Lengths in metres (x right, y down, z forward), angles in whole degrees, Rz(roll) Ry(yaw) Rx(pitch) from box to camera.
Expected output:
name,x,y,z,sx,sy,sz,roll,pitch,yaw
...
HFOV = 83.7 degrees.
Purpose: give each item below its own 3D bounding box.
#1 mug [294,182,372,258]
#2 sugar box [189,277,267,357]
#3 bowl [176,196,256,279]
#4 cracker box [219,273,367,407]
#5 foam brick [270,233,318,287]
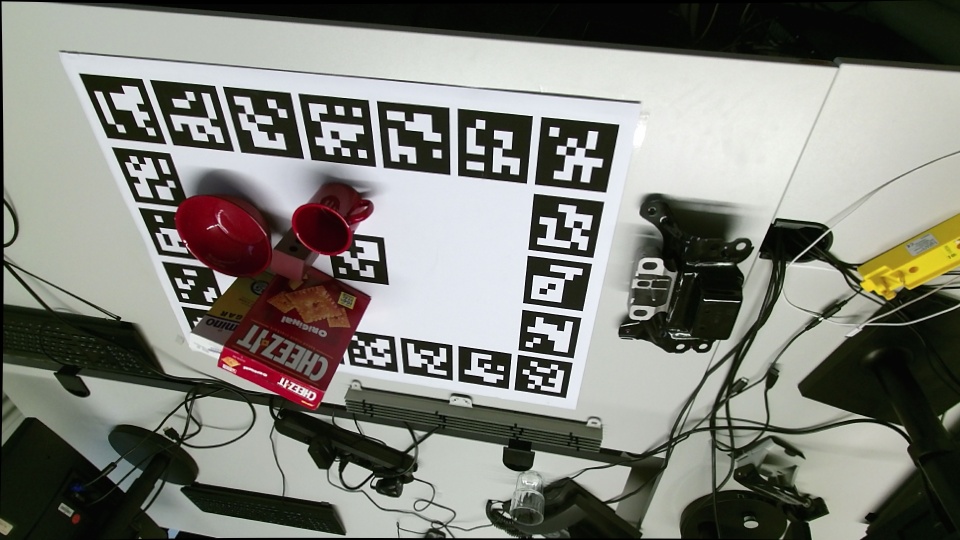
name,x,y,z,sx,sy,sz,roll,pitch,yaw
mug,-0.219,-0.079,0.809,0.117,0.081,0.093,0,134,10
sugar box,-0.411,0.088,0.917,0.093,0.176,0.045,24,127,-8
bowl,-0.424,-0.061,0.872,0.162,0.055,0.161,5,126,7
cracker box,-0.304,0.103,0.885,0.165,0.213,0.072,32,128,-12
foam brick,-0.303,-0.022,0.882,0.053,0.078,0.051,20,128,-4
